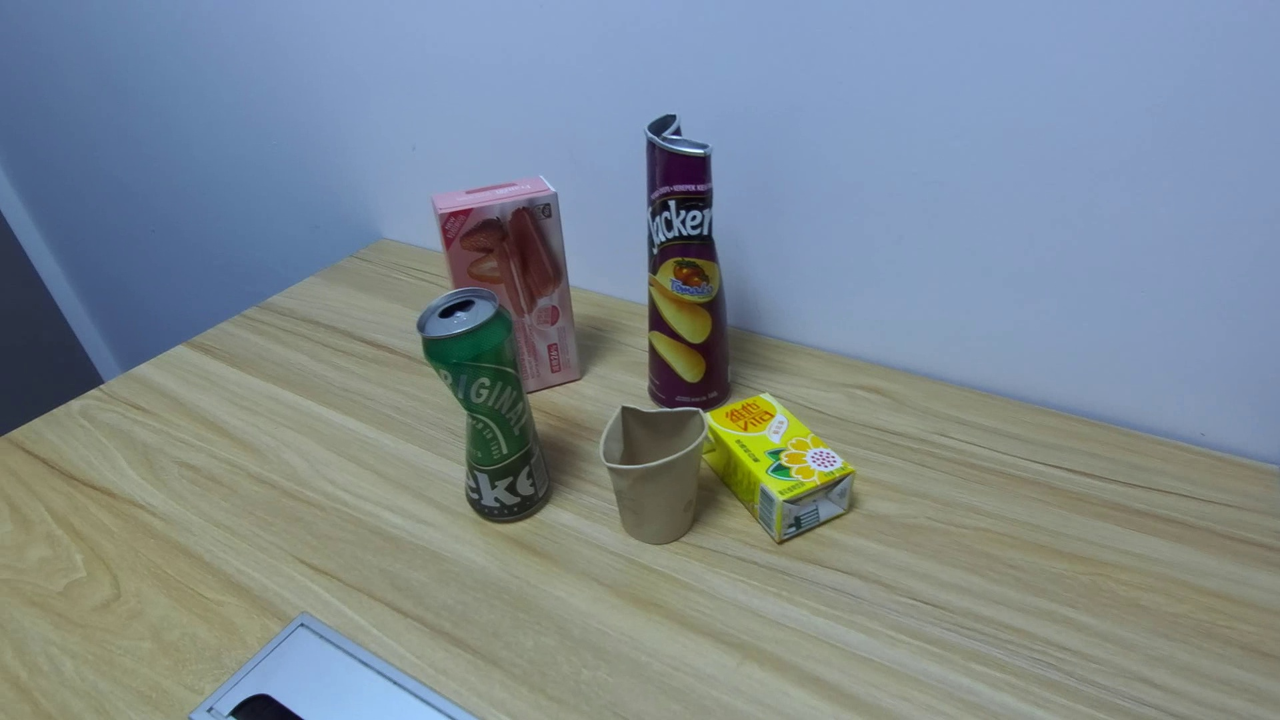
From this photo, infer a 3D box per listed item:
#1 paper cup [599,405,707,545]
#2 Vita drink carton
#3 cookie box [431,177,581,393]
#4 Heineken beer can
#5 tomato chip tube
[{"bbox_3d":[0.012,0.083,0.495,0.071,0.084,0.066,0,34,7],"label":"paper cup"},{"bbox_3d":[0.100,0.077,0.533,0.067,0.043,0.108,-16,35,-21],"label":"Vita drink carton"},{"bbox_3d":[-0.112,-0.057,0.619,0.096,0.185,0.048,-15,34,-15],"label":"cookie box"},{"bbox_3d":[-0.109,0.036,0.505,0.069,0.169,0.068,13,39,28],"label":"Heineken beer can"},{"bbox_3d":[0.040,-0.070,0.578,0.076,0.235,0.078,17,39,27],"label":"tomato chip tube"}]
